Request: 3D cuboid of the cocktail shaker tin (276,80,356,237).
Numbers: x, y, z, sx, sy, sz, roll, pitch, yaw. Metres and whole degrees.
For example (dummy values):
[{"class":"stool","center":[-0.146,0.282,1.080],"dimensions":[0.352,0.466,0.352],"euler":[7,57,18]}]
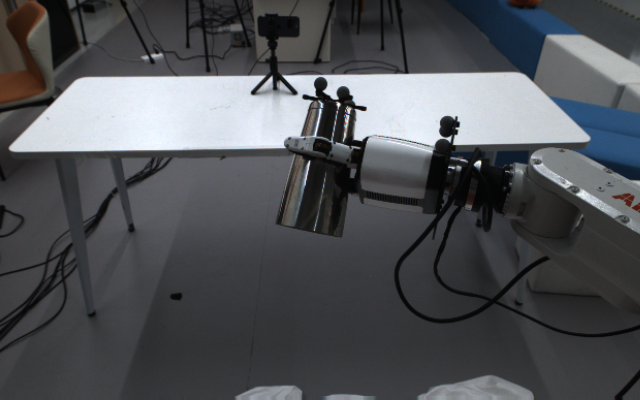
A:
[{"class":"cocktail shaker tin","center":[0.002,-0.042,0.651],"dimensions":[0.093,0.170,0.093],"euler":[11,-5,1]}]
